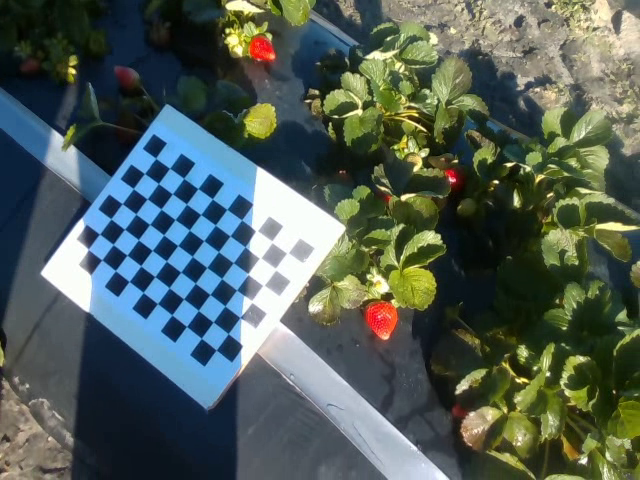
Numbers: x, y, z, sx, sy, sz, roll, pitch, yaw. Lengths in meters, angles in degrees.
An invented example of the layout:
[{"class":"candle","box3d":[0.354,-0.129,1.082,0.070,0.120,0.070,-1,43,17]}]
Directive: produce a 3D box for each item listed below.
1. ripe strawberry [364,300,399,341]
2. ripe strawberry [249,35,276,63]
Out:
[{"class":"ripe strawberry","box3d":[0.076,0.102,0.766,0.048,0.054,0.029,-11,-13,9]},{"class":"ripe strawberry","box3d":[-0.096,-0.326,1.064,0.064,0.049,0.052,42,0,25]}]
